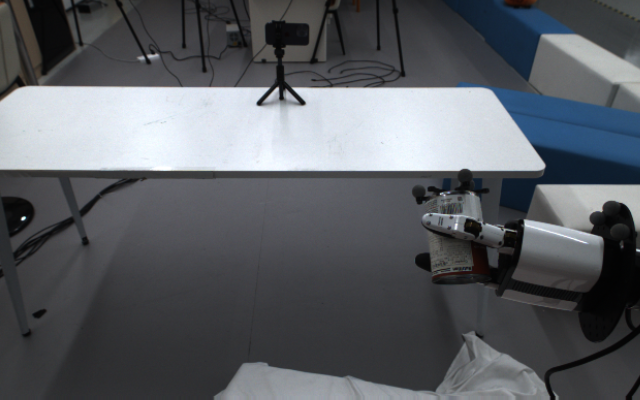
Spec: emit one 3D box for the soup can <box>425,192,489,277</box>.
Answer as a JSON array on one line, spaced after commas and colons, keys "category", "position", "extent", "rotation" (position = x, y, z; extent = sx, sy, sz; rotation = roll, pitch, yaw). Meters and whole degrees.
[{"category": "soup can", "position": [0.165, 0.044, 0.583], "extent": [0.067, 0.067, 0.101], "rotation": [0, 72, -4]}]
